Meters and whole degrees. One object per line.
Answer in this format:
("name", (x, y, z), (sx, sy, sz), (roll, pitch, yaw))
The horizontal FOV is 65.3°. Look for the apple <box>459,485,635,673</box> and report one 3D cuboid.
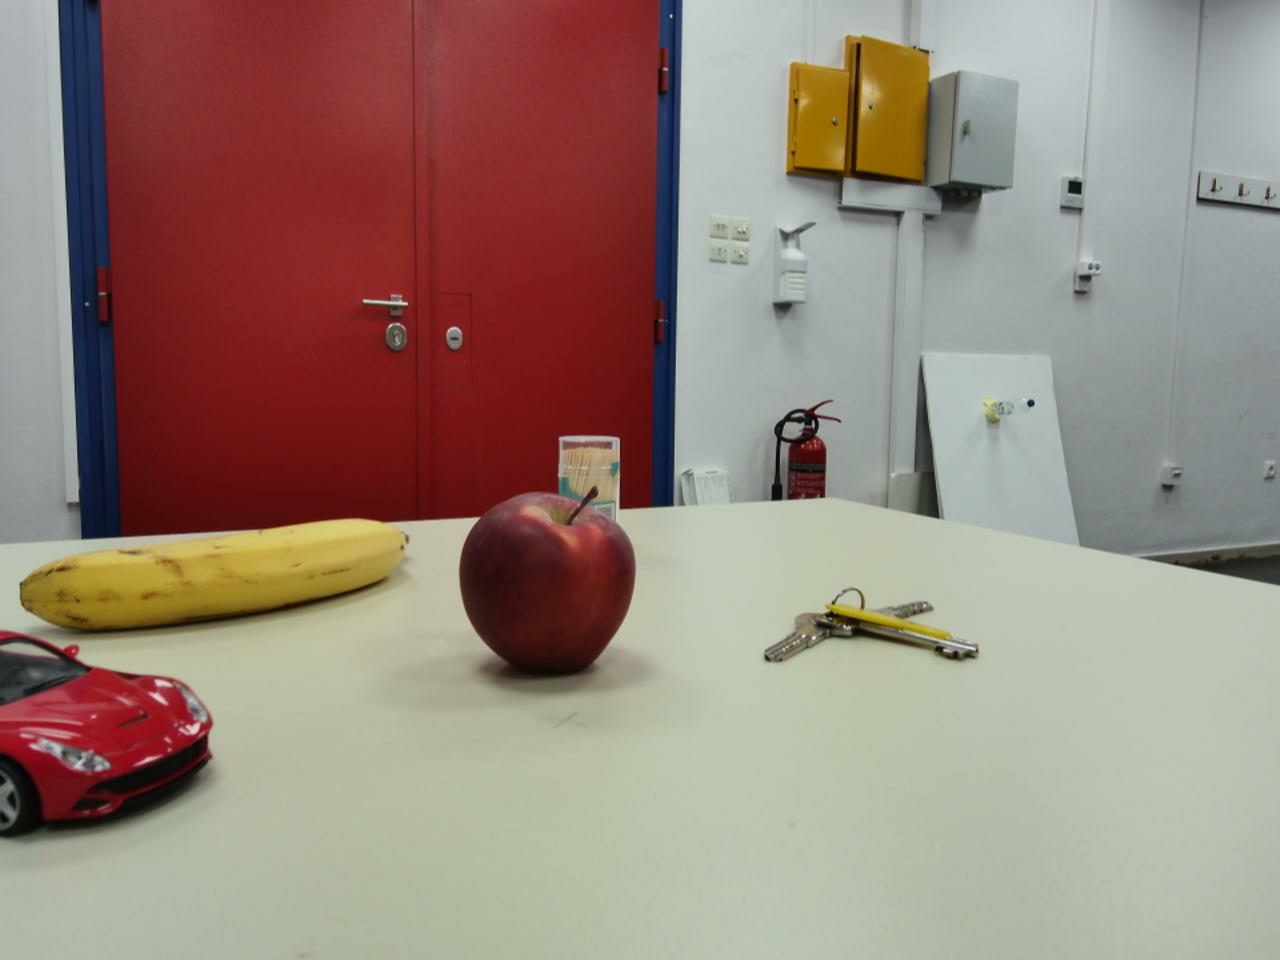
("apple", (-0.037, 0.039, 0.402), (0.070, 0.072, 0.070), (0, 4, 0))
